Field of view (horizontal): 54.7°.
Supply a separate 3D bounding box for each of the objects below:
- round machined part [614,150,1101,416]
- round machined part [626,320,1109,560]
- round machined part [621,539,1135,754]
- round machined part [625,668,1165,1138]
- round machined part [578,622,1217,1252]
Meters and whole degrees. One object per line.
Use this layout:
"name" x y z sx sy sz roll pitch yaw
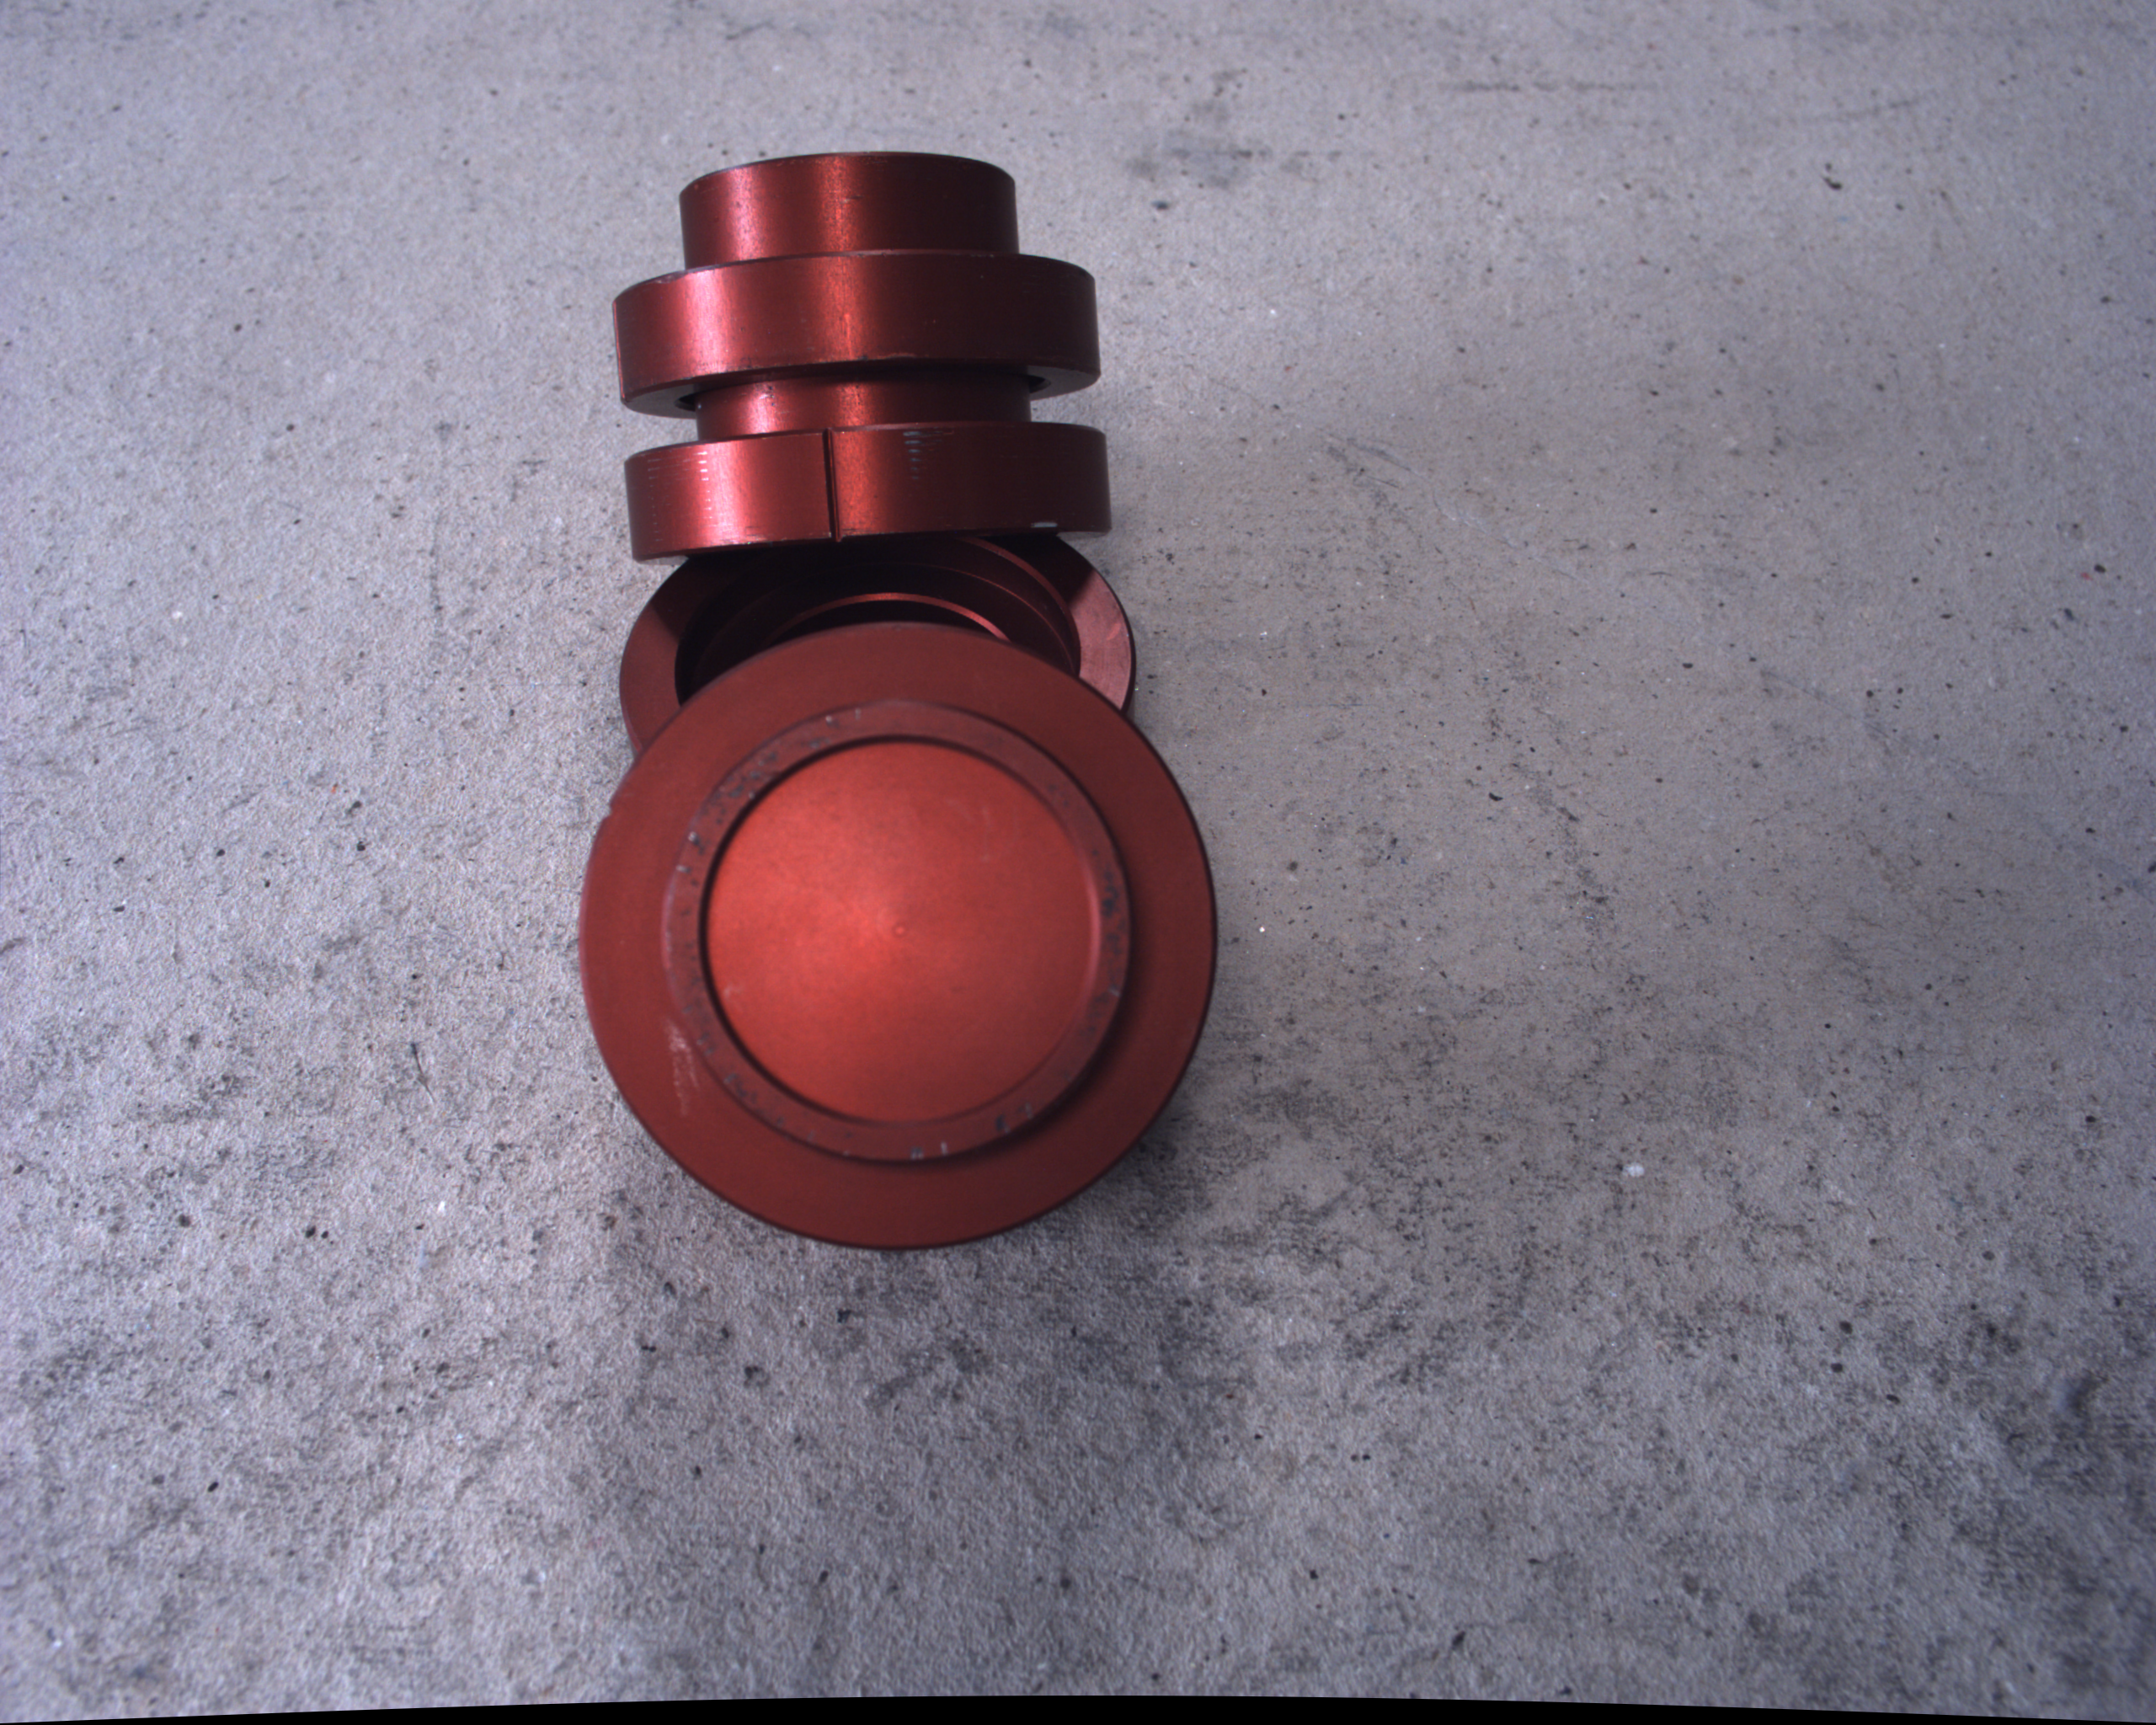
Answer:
"round machined part" -0.046 -0.118 0.430 0.099 0.042 0.098 -4 7 1
"round machined part" -0.043 -0.086 0.430 0.099 0.042 0.098 -4 7 1
"round machined part" -0.038 -0.026 0.416 0.099 0.042 0.098 0 50 0
"round machined part" -0.030 0.009 0.354 0.099 0.042 0.097 0 86 -4
"round machined part" -0.027 0.011 0.322 0.099 0.042 0.097 0 86 -4
